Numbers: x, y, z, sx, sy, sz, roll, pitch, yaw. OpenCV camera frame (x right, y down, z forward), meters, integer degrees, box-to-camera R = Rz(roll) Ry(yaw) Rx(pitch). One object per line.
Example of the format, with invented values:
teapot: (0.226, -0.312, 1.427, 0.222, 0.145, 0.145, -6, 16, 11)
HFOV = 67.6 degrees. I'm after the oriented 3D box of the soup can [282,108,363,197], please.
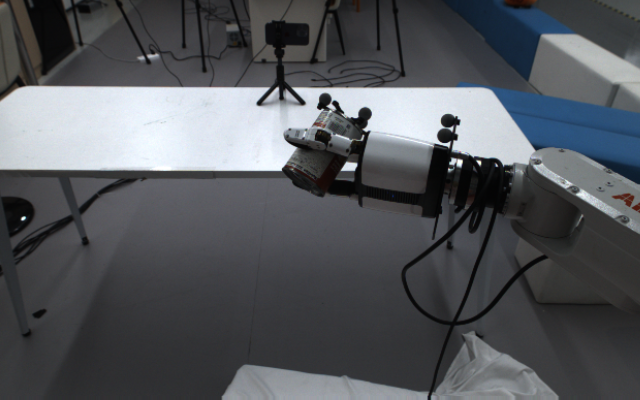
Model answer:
soup can: (0.004, -0.064, 0.657, 0.067, 0.067, 0.101, 27, 78, 31)
